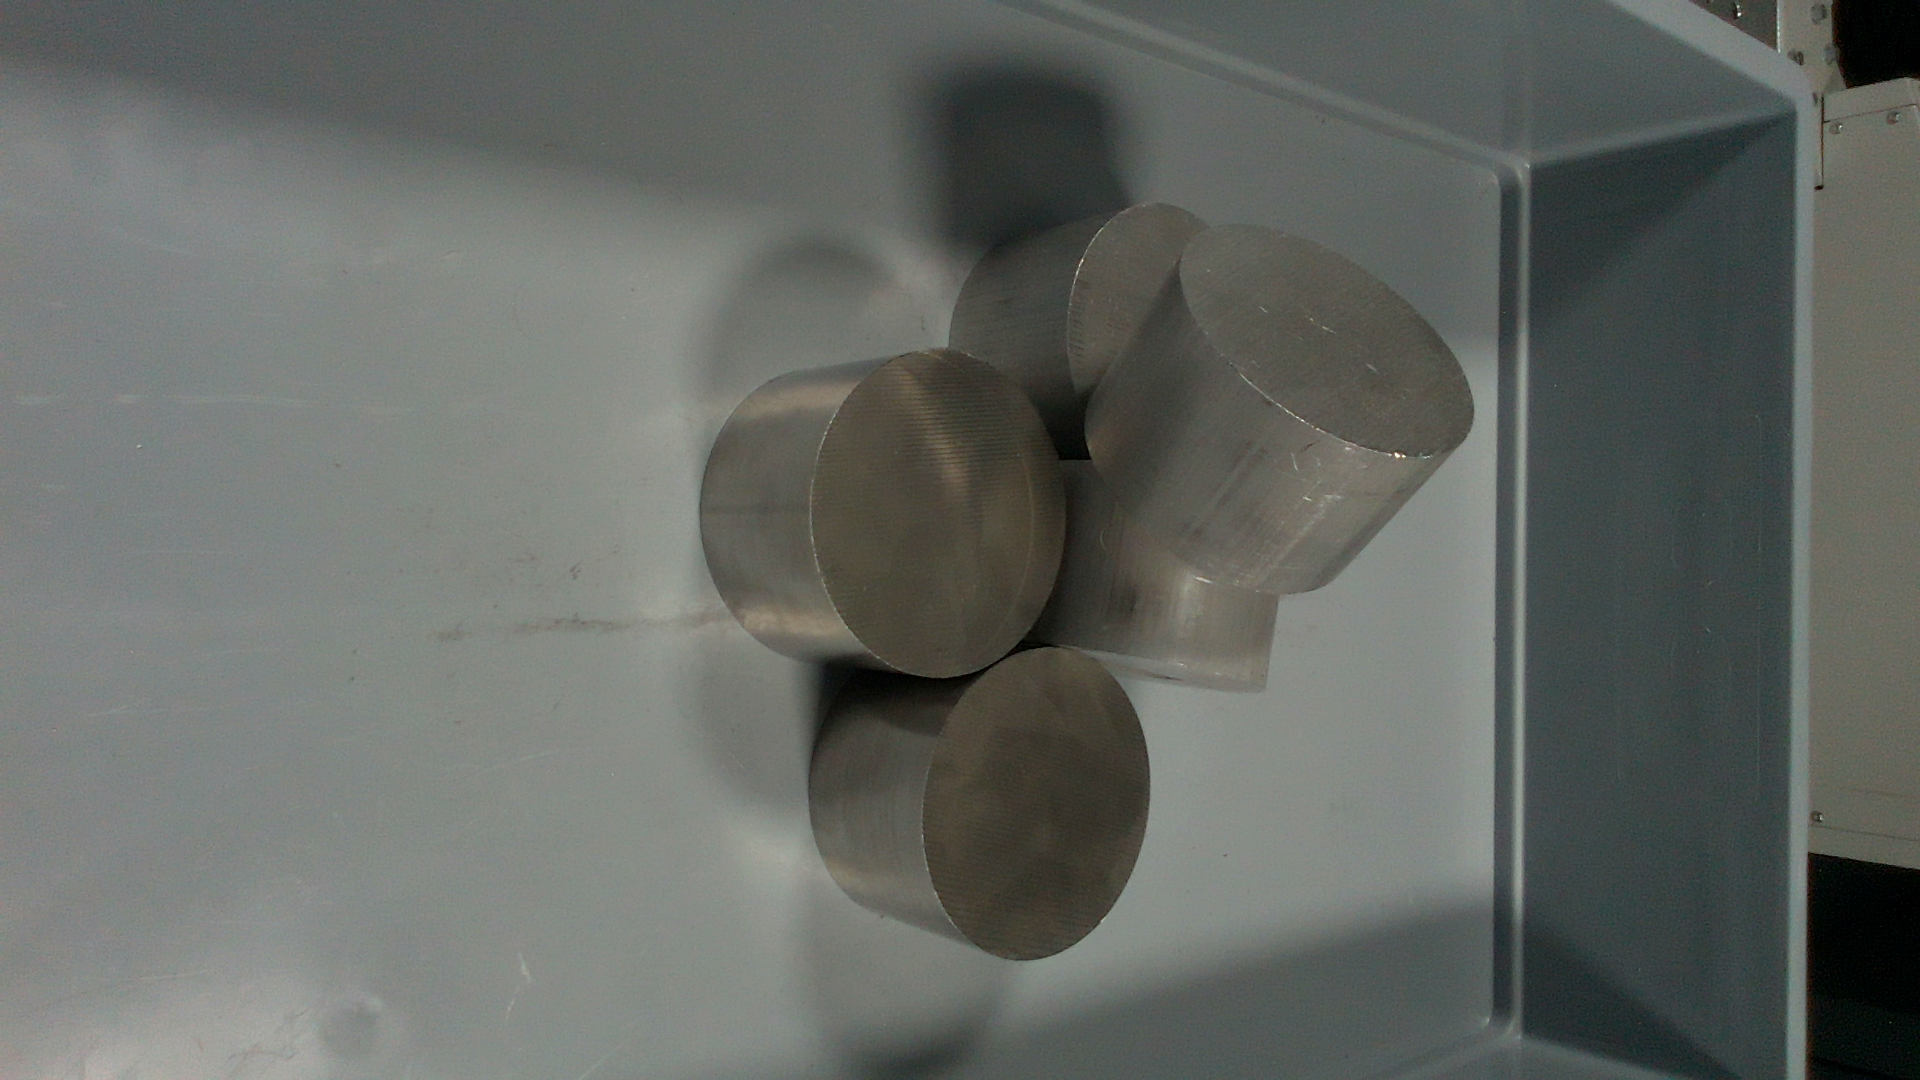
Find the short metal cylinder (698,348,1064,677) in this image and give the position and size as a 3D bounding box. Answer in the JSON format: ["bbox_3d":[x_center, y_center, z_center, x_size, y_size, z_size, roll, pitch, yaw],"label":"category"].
[{"bbox_3d":[-0.019,-0.007,0.354,0.080,0.050,0.080,0,90,-40],"label":"short metal cylinder"}]

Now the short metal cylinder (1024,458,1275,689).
[{"bbox_3d":[0.050,0.011,0.394,0.080,0.080,0.050,17,79,-38],"label":"short metal cylinder"}]

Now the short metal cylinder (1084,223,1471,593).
[{"bbox_3d":[0.078,-0.034,0.345,0.080,0.050,0.080,17,44,-16],"label":"short metal cylinder"}]

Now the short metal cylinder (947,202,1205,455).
[{"bbox_3d":[0.043,-0.055,0.407,0.080,0.050,0.080,0,90,-40],"label":"short metal cylinder"}]

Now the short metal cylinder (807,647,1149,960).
[{"bbox_3d":[0.006,0.068,0.375,0.080,0.050,0.080,0,90,-40],"label":"short metal cylinder"}]
